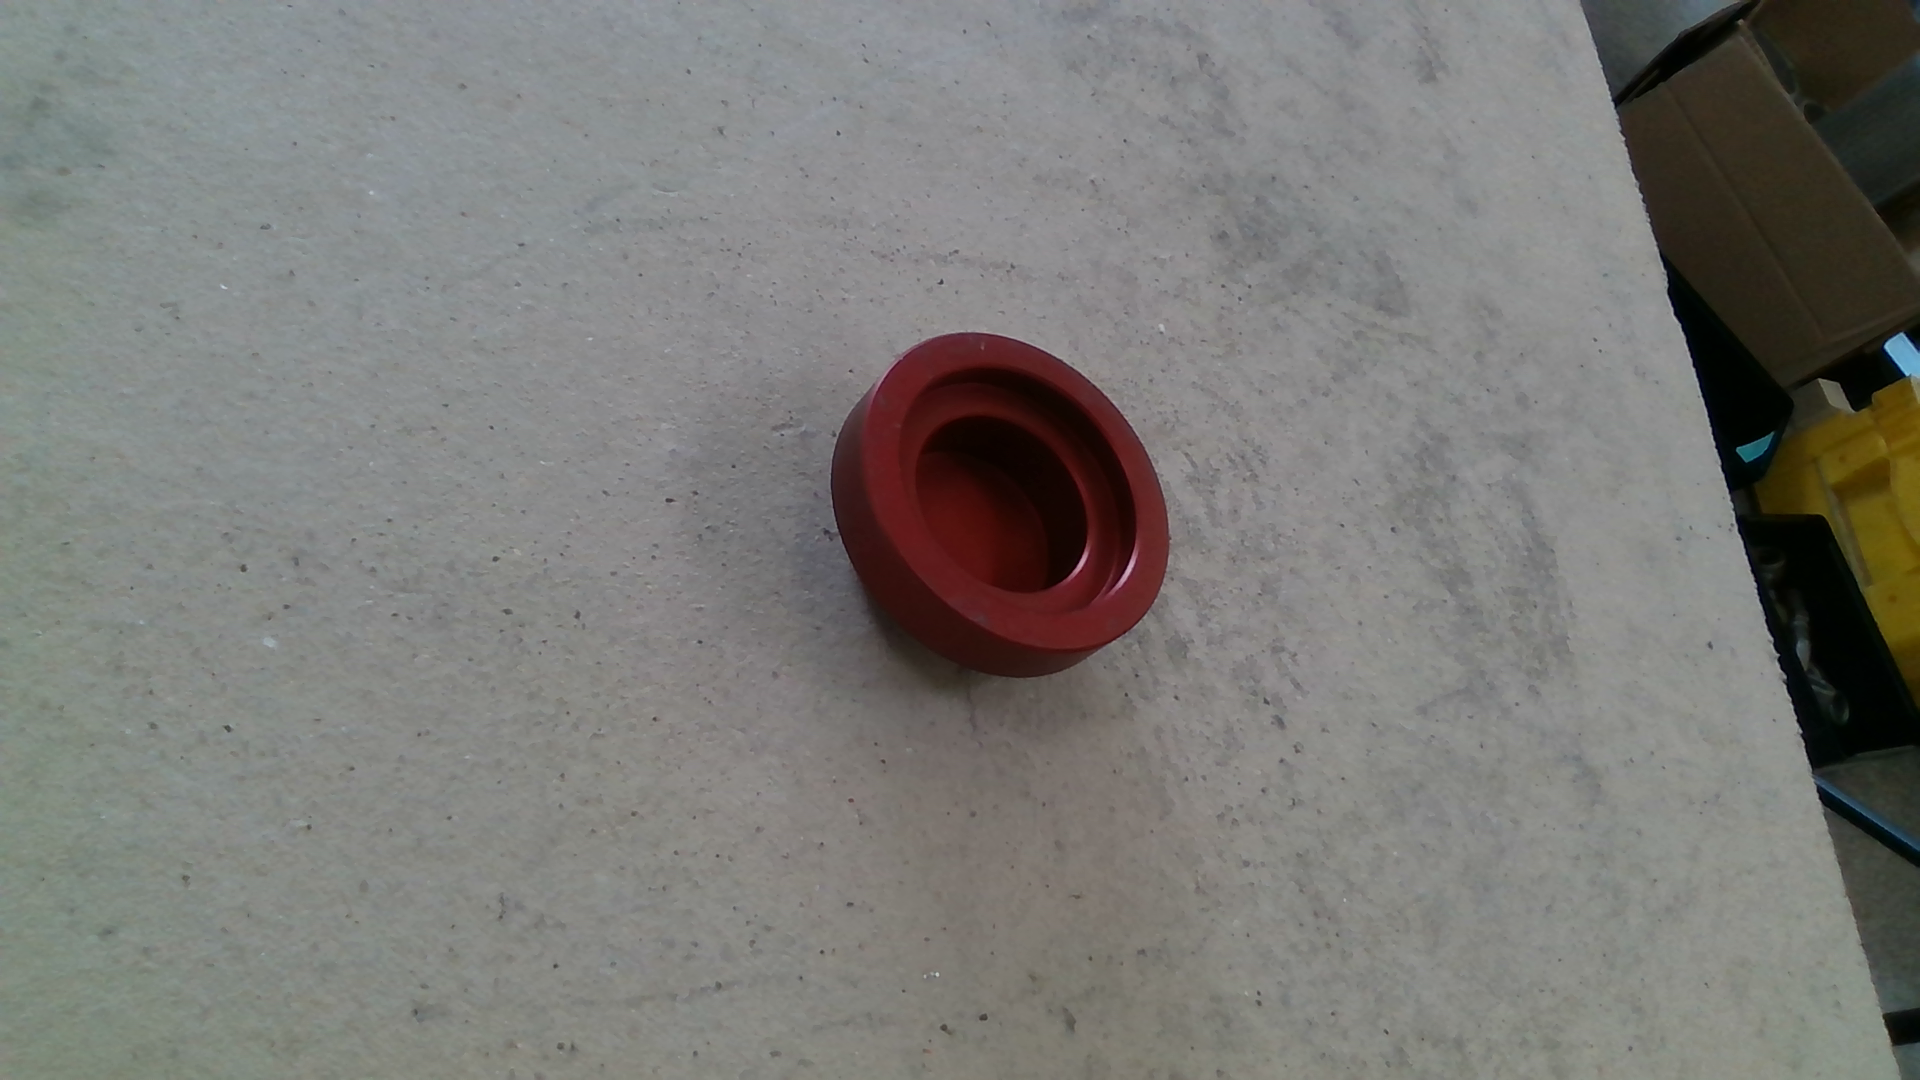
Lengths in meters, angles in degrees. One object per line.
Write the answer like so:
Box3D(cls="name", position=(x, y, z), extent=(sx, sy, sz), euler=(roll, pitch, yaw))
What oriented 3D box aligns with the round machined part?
Box3D(cls="round machined part", position=(0.008, -0.006, 0.391), extent=(0.098, 0.042, 0.098), euler=(14, 59, -25))
